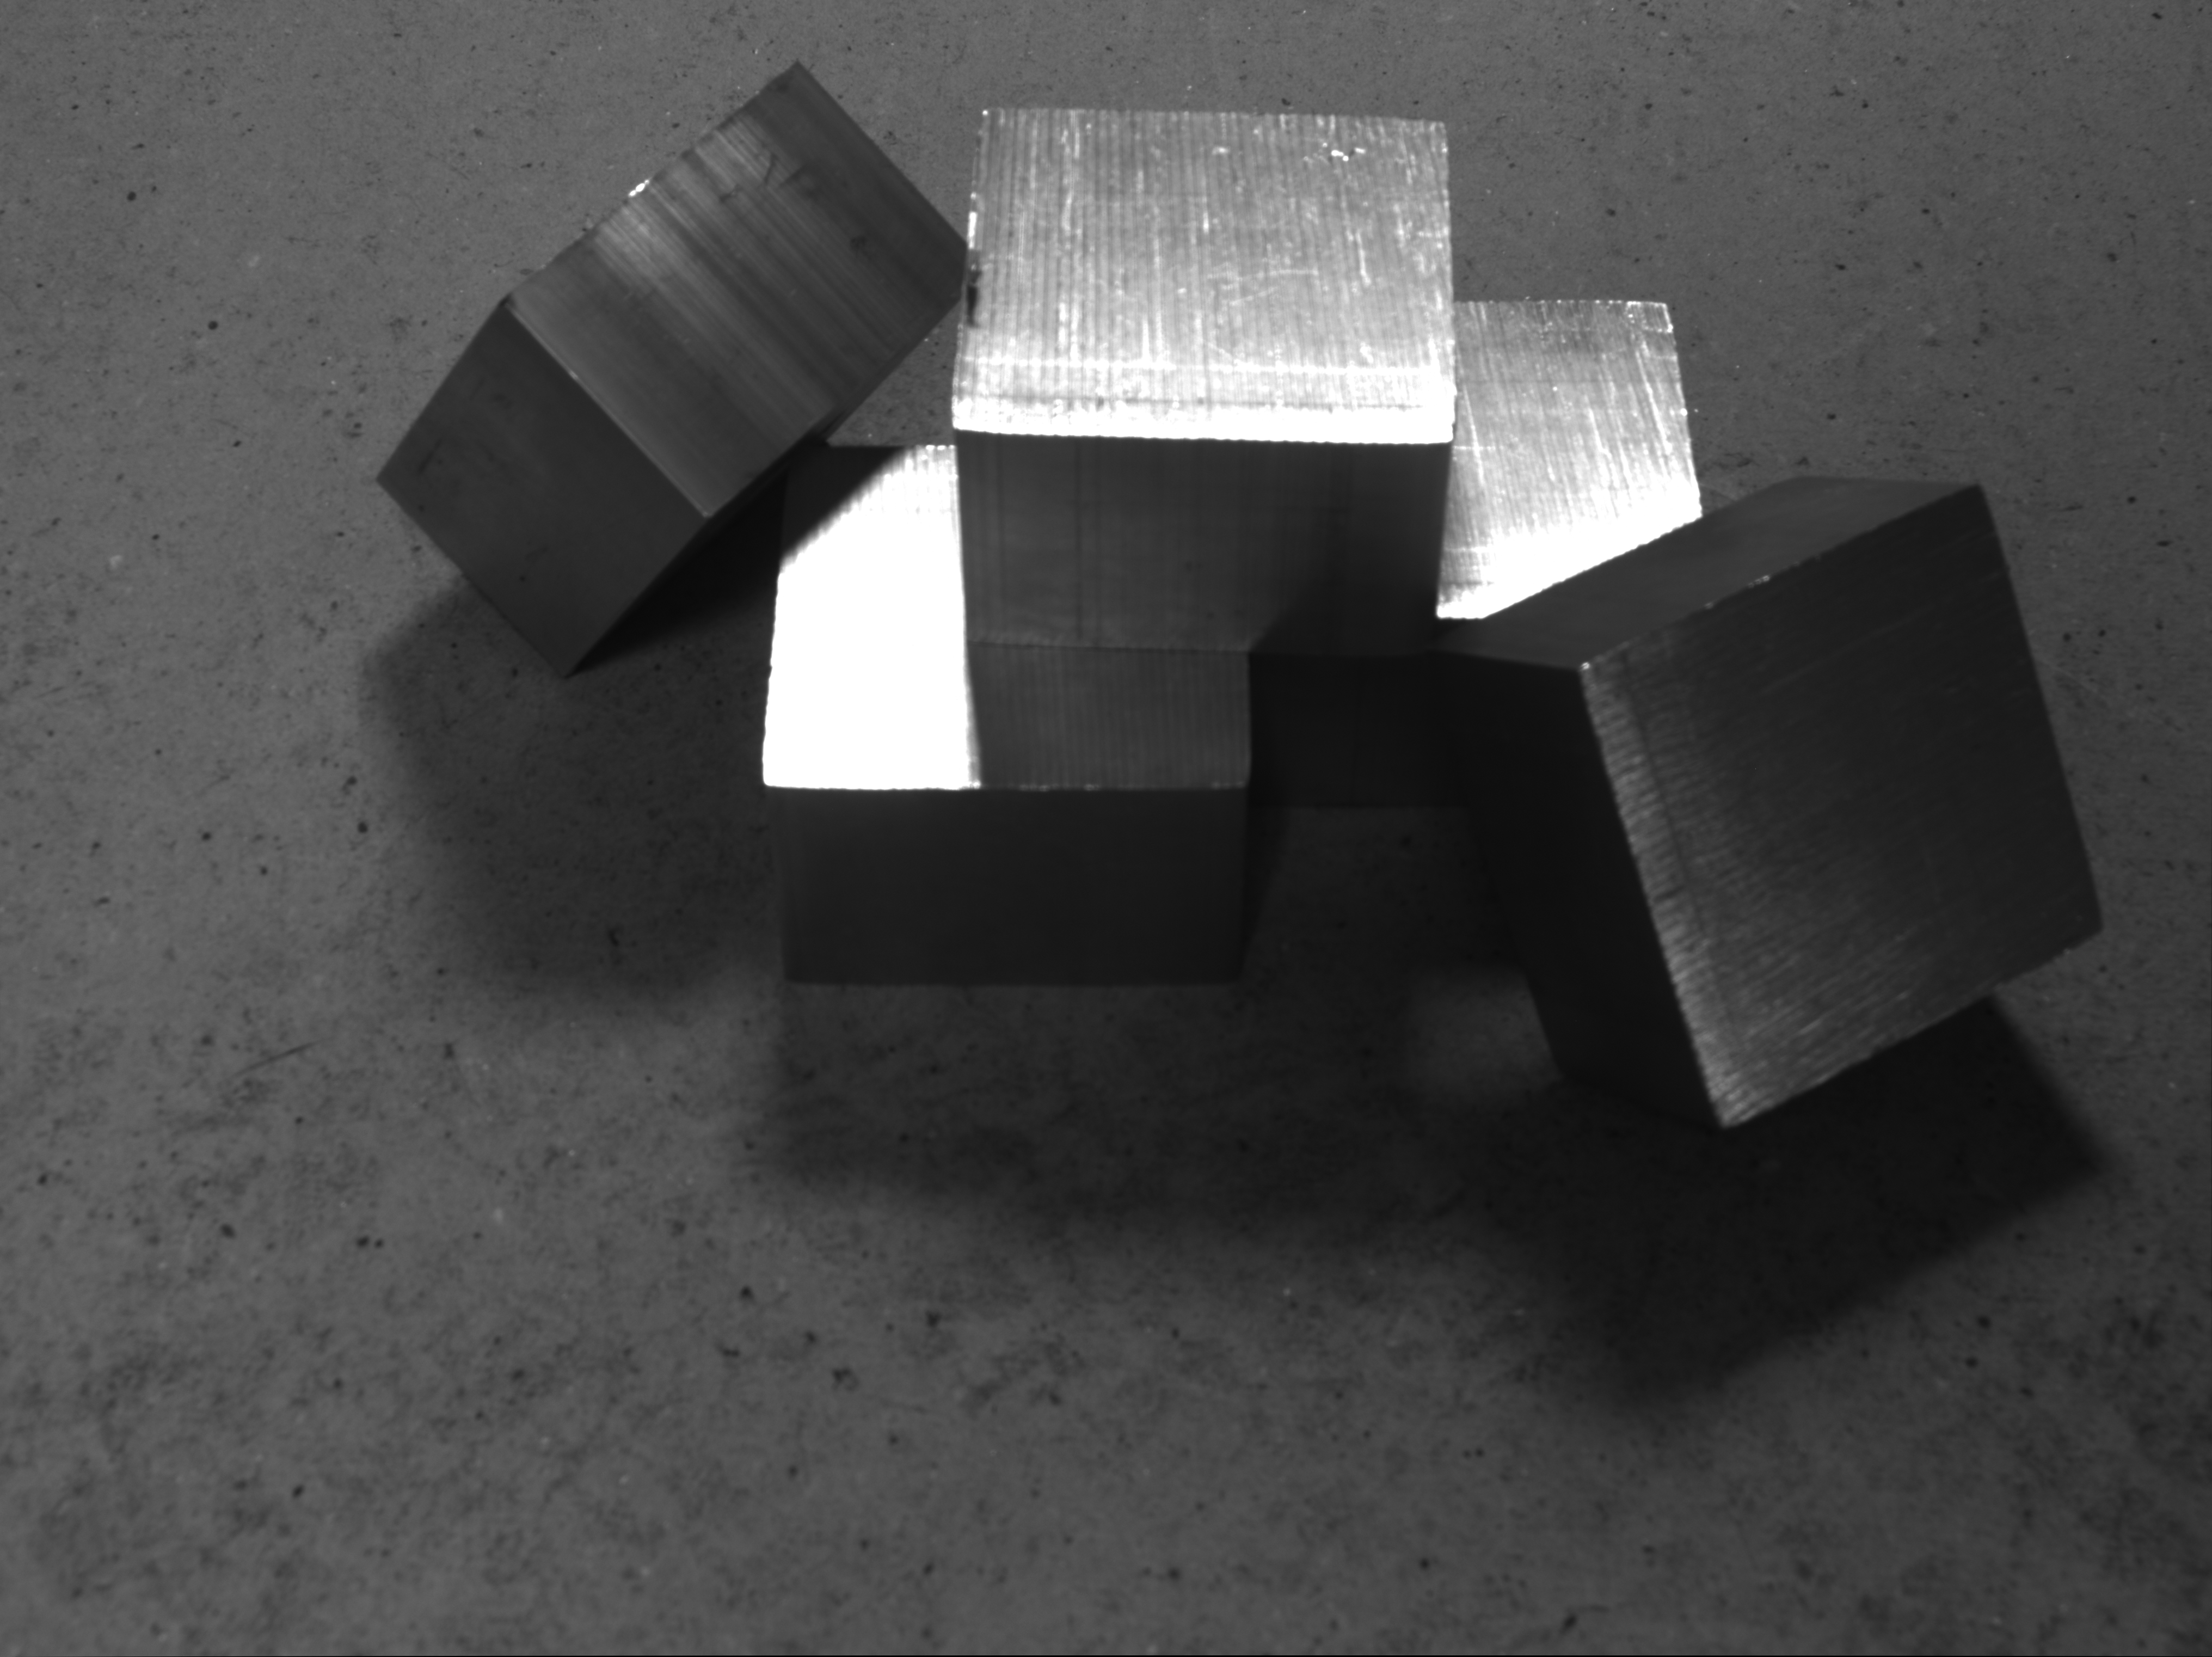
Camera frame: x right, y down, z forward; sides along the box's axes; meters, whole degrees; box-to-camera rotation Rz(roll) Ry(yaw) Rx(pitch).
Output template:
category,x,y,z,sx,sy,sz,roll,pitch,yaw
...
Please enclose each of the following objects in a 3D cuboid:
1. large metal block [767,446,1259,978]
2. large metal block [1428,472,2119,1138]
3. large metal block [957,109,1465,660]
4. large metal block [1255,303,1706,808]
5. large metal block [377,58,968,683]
category,x,y,z,sx,sy,sz,roll,pitch,yaw
large metal block,-0.015,-0.021,0.641,0.080,0.050,0.080,0,50,0
large metal block,0.110,-0.006,0.603,0.080,0.080,0.050,-25,16,-19
large metal block,0.018,-0.076,0.622,0.080,0.050,0.080,2,50,1
large metal block,0.065,-0.050,0.669,0.080,0.050,0.080,0,50,0
large metal block,-0.077,-0.082,0.667,0.050,0.080,0.080,47,58,-6
